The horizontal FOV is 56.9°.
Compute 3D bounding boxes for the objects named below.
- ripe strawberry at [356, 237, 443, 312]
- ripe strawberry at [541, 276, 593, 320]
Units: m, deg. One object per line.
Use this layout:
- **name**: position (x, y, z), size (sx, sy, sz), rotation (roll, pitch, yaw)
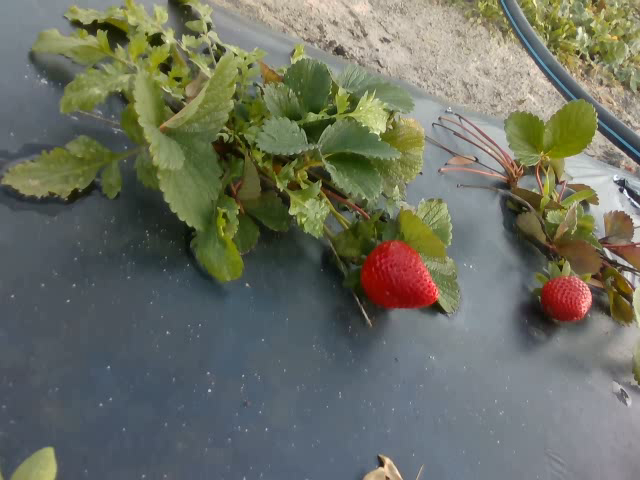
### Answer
- **ripe strawberry**: position (0.047, 0.024, 0.318), size (0.051, 0.046, 0.050), rotation (48, -12, -24)
- **ripe strawberry**: position (0.175, 0.045, 0.407), size (0.041, 0.045, 0.052), rotation (-20, 12, 10)
